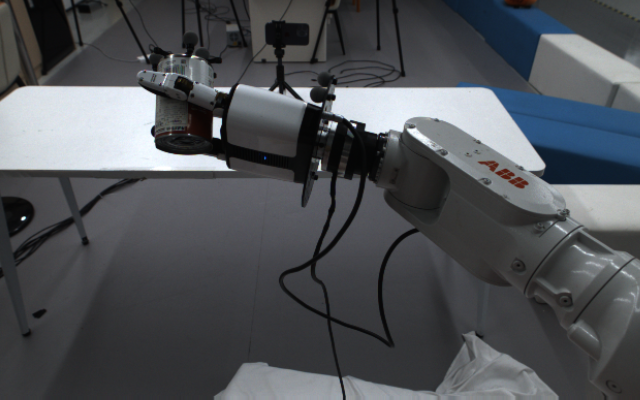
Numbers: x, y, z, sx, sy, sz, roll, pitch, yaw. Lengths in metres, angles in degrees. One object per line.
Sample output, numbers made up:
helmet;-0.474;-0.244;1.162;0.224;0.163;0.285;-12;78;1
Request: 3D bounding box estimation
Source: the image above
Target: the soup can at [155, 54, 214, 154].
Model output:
soup can;-0.161;-0.112;0.577;0.067;0.067;0.101;-1;77;-5
